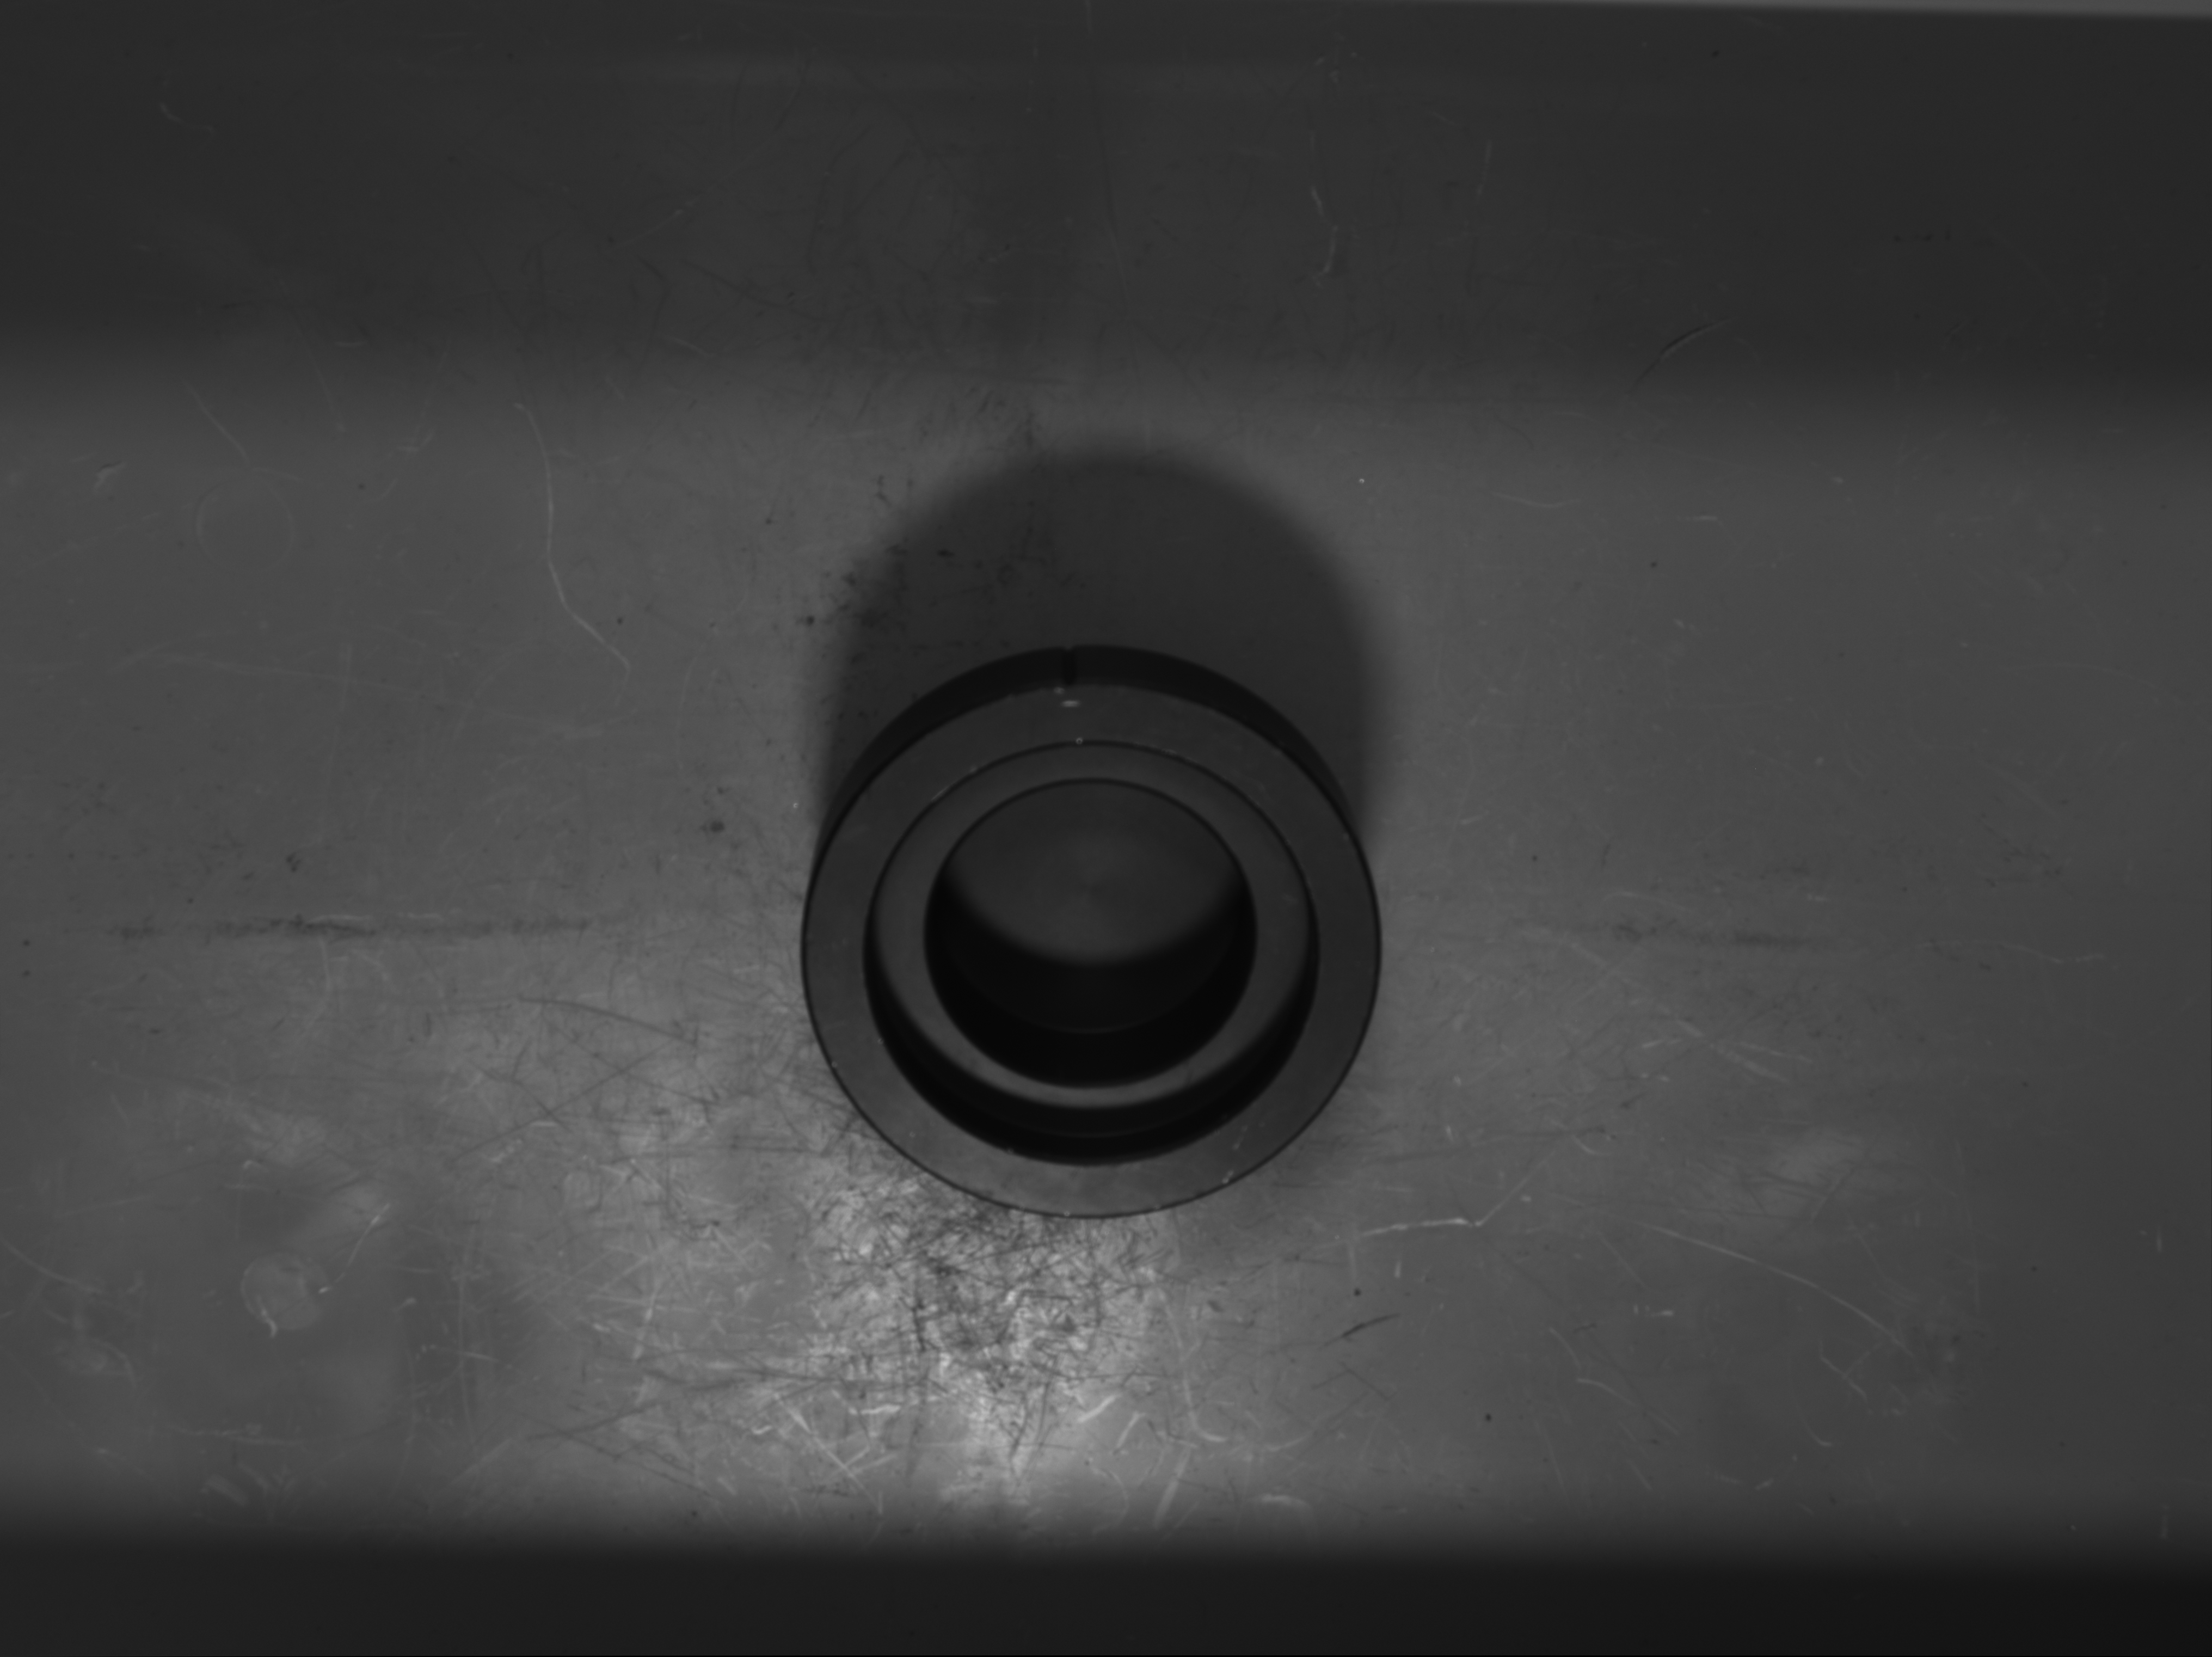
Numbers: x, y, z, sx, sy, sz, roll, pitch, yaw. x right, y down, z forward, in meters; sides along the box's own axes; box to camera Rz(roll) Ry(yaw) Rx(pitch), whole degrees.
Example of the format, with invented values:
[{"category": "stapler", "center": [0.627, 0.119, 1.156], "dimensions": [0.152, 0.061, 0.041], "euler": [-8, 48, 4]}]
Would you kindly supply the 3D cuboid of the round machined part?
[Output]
[{"category": "round machined part", "center": [-0.001, 0.015, 0.636], "dimensions": [0.098, 0.042, 0.098], "euler": [0, 110, -1]}]
